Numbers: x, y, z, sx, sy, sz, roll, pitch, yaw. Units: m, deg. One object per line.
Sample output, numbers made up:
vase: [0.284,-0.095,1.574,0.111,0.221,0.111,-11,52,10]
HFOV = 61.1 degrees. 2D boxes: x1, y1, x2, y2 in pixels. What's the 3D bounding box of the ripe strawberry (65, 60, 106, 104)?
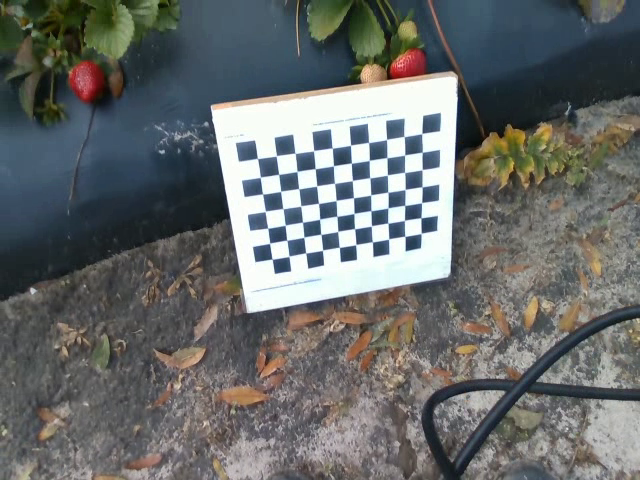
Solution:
ripe strawberry: [-0.289,-0.188,0.666,0.050,0.053,0.049,-17,-42,-5]
